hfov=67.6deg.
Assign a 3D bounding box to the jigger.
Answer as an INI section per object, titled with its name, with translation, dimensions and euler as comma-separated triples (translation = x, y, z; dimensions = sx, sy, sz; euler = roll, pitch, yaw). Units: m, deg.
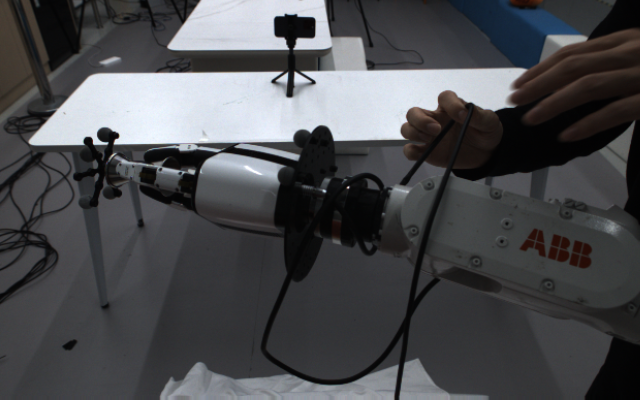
[jigger]
translation = -0.192, -0.032, 0.538
dimensions = 0.071, 0.043, 0.043
euler = 7, 35, 13
